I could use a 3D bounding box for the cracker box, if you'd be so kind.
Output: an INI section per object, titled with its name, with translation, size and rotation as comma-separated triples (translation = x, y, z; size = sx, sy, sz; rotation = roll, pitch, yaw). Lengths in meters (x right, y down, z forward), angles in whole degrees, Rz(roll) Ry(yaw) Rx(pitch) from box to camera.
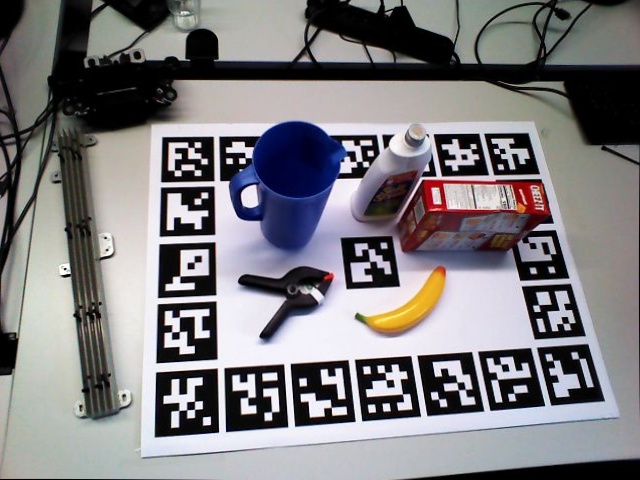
[cracker box]
translation = 0.304, -0.028, 0.922
size = 0.214, 0.165, 0.071
rotation = -1, 63, -6

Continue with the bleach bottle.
[bleach bottle]
translation = 0.147, -0.102, 0.906
size = 0.102, 0.252, 0.067
rotation = -2, 65, -8

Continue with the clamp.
[clamp]
translation = -0.024, 0.104, 0.908
size = 0.165, 0.037, 0.121
rotation = -17, 68, -16

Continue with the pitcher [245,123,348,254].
[pitcher]
translation = -0.032, -0.067, 0.847
size = 0.188, 0.244, 0.133
rotation = -19, 69, -18

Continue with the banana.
[banana]
translation = 0.195, 0.122, 0.936
size = 0.196, 0.039, 0.074
rotation = -35, 74, -20
